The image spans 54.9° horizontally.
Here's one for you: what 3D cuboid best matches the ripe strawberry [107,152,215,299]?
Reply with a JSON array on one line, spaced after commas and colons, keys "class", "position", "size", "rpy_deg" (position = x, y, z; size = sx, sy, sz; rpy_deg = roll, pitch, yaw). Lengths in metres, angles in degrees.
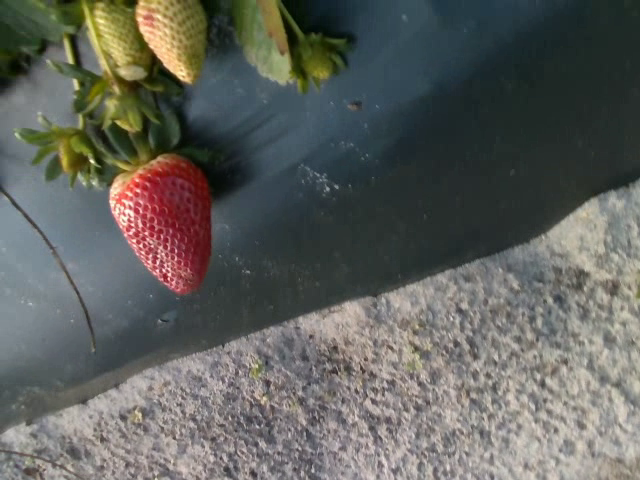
[{"class": "ripe strawberry", "position": [-0.078, -0.007, 0.300], "size": [0.052, 0.068, 0.044], "rpy_deg": [-23, -4, 24]}]
